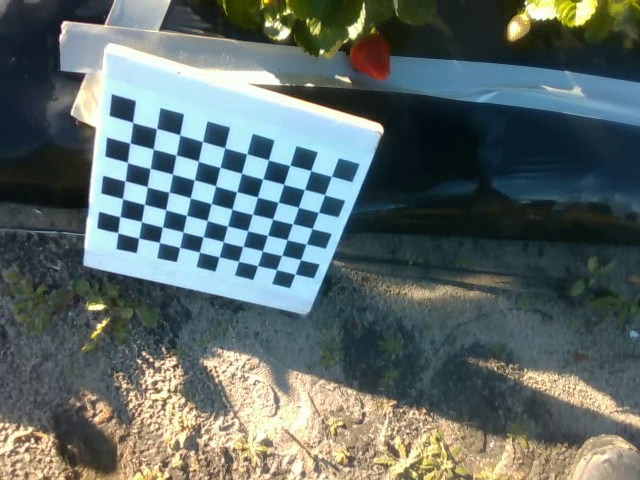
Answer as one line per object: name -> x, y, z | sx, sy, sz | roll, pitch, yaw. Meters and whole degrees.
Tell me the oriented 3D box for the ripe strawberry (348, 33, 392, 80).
ripe strawberry -> 0.055, -0.188, 0.600 | 0.048, 0.064, 0.045 | 17, -50, -46
